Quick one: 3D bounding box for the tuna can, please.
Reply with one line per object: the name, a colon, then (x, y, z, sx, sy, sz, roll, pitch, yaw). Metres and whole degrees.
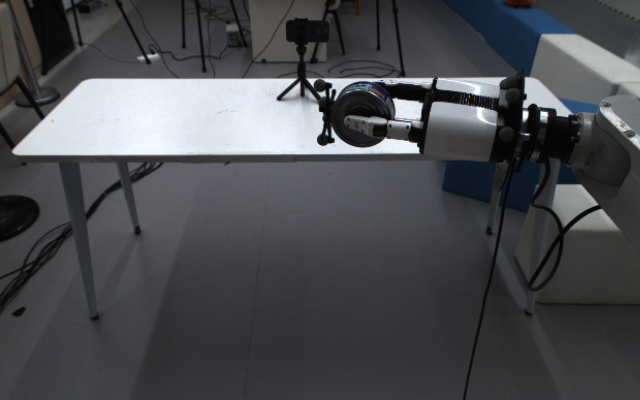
tuna can: (0.061, -0.115, 0.661, 0.085, 0.085, 0.034, 9, 32, 10)
